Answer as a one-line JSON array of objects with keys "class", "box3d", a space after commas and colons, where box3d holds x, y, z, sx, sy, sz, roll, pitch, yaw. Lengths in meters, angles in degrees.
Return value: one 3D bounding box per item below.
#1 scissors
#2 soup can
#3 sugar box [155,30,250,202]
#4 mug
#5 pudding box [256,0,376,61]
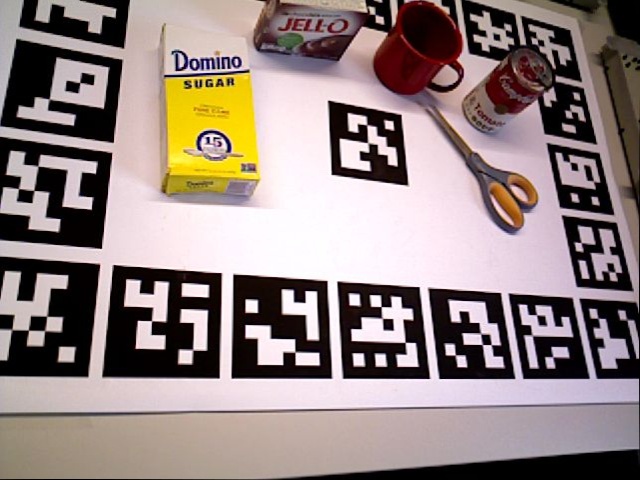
[{"class": "scissors", "box3d": [0.207, -0.086, 0.696, 0.086, 0.016, 0.203, -40, 92, -18]}, {"class": "soup can", "box3d": [0.237, -0.186, 0.702, 0.067, 0.104, 0.067, 7, 68, -19]}, {"class": "sugar box", "box3d": [-0.124, -0.128, 0.567, 0.091, 0.046, 0.175, 1, 74, -20]}, {"class": "mug", "box3d": [0.128, -0.233, 0.677, 0.091, 0.083, 0.117, -34, 86, -25]}, {"class": "pudding box", "box3d": [-0.007, -0.248, 0.620, 0.112, 0.091, 0.038, -4, 80, -24]}]
